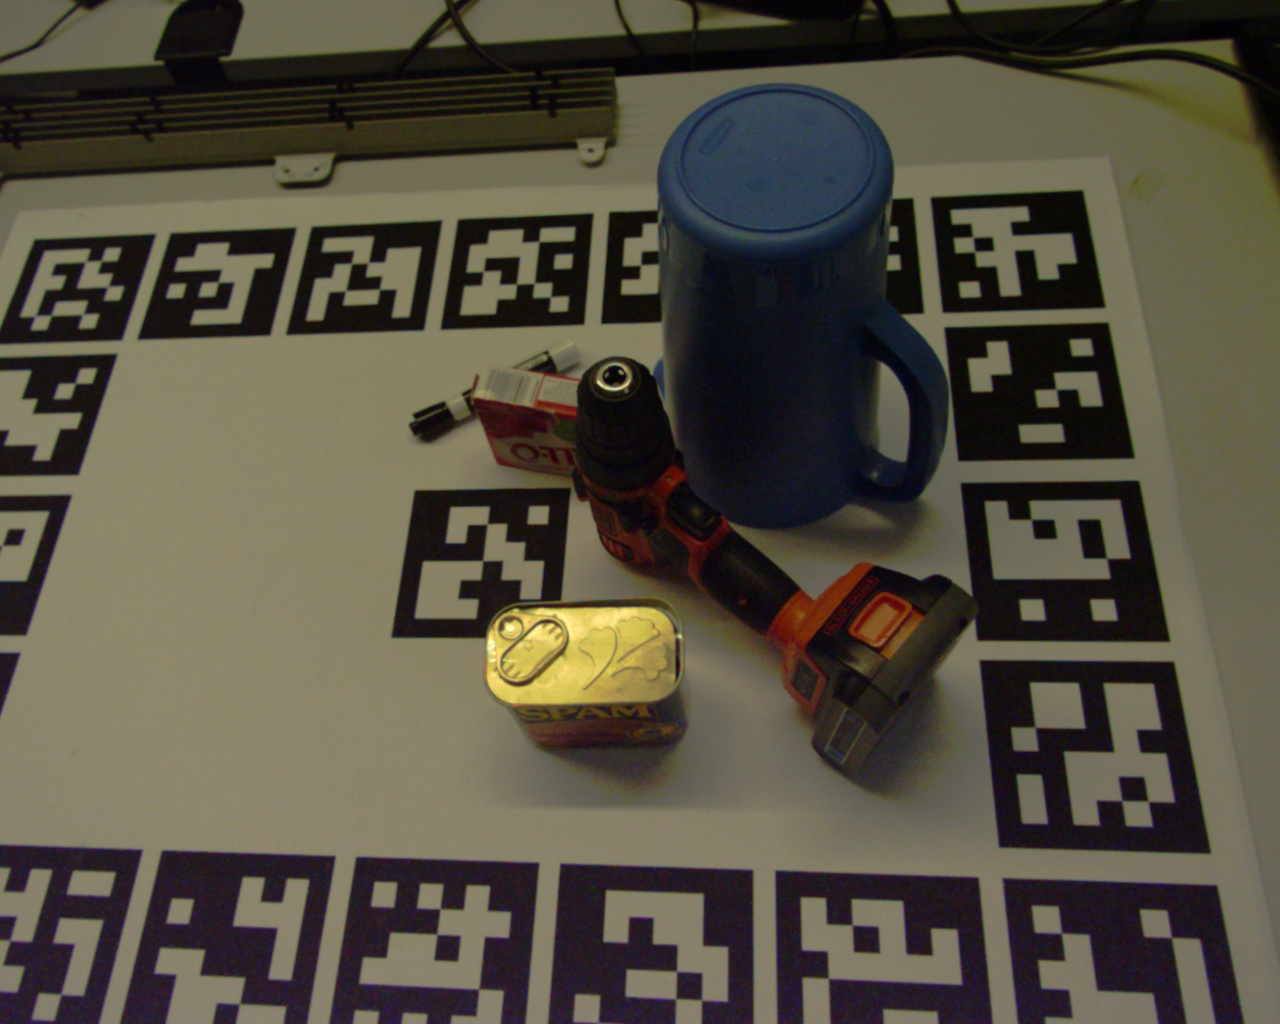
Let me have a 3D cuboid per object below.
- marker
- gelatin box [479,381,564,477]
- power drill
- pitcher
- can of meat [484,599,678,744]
[{"bbox_3d":[-0.101,-0.085,0.781,0.121,0.019,0.020,-25,63,-5],"label":"marker"},{"bbox_3d":[-0.051,-0.048,0.728,0.090,0.073,0.030,10,68,10],"label":"gelatin box"},{"bbox_3d":[0.036,0.013,0.622,0.188,0.184,0.057,34,74,15],"label":"power drill"},{"bbox_3d":[0.085,-0.090,0.644,0.191,0.240,0.133,28,72,26],"label":"pitcher"},{"bbox_3d":[-0.029,0.093,0.641,0.102,0.083,0.058,-2,60,6],"label":"can of meat"}]
